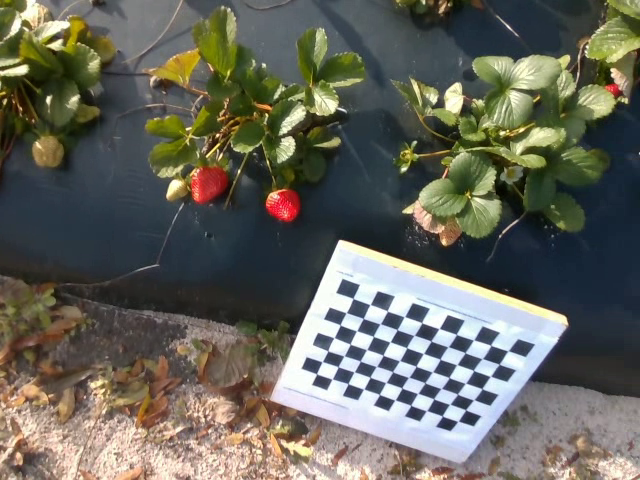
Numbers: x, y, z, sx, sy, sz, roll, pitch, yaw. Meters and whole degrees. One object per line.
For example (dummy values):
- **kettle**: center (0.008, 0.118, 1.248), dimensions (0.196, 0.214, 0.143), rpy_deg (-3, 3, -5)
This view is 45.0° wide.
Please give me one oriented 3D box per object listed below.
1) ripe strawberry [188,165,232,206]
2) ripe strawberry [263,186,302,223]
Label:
- **ripe strawberry**: center (-0.097, -0.046, 0.662), dimensions (0.035, 0.036, 0.041), rpy_deg (9, -32, 8)
- **ripe strawberry**: center (-0.030, -0.027, 0.667), dimensions (0.033, 0.039, 0.038), rpy_deg (16, -44, -25)
